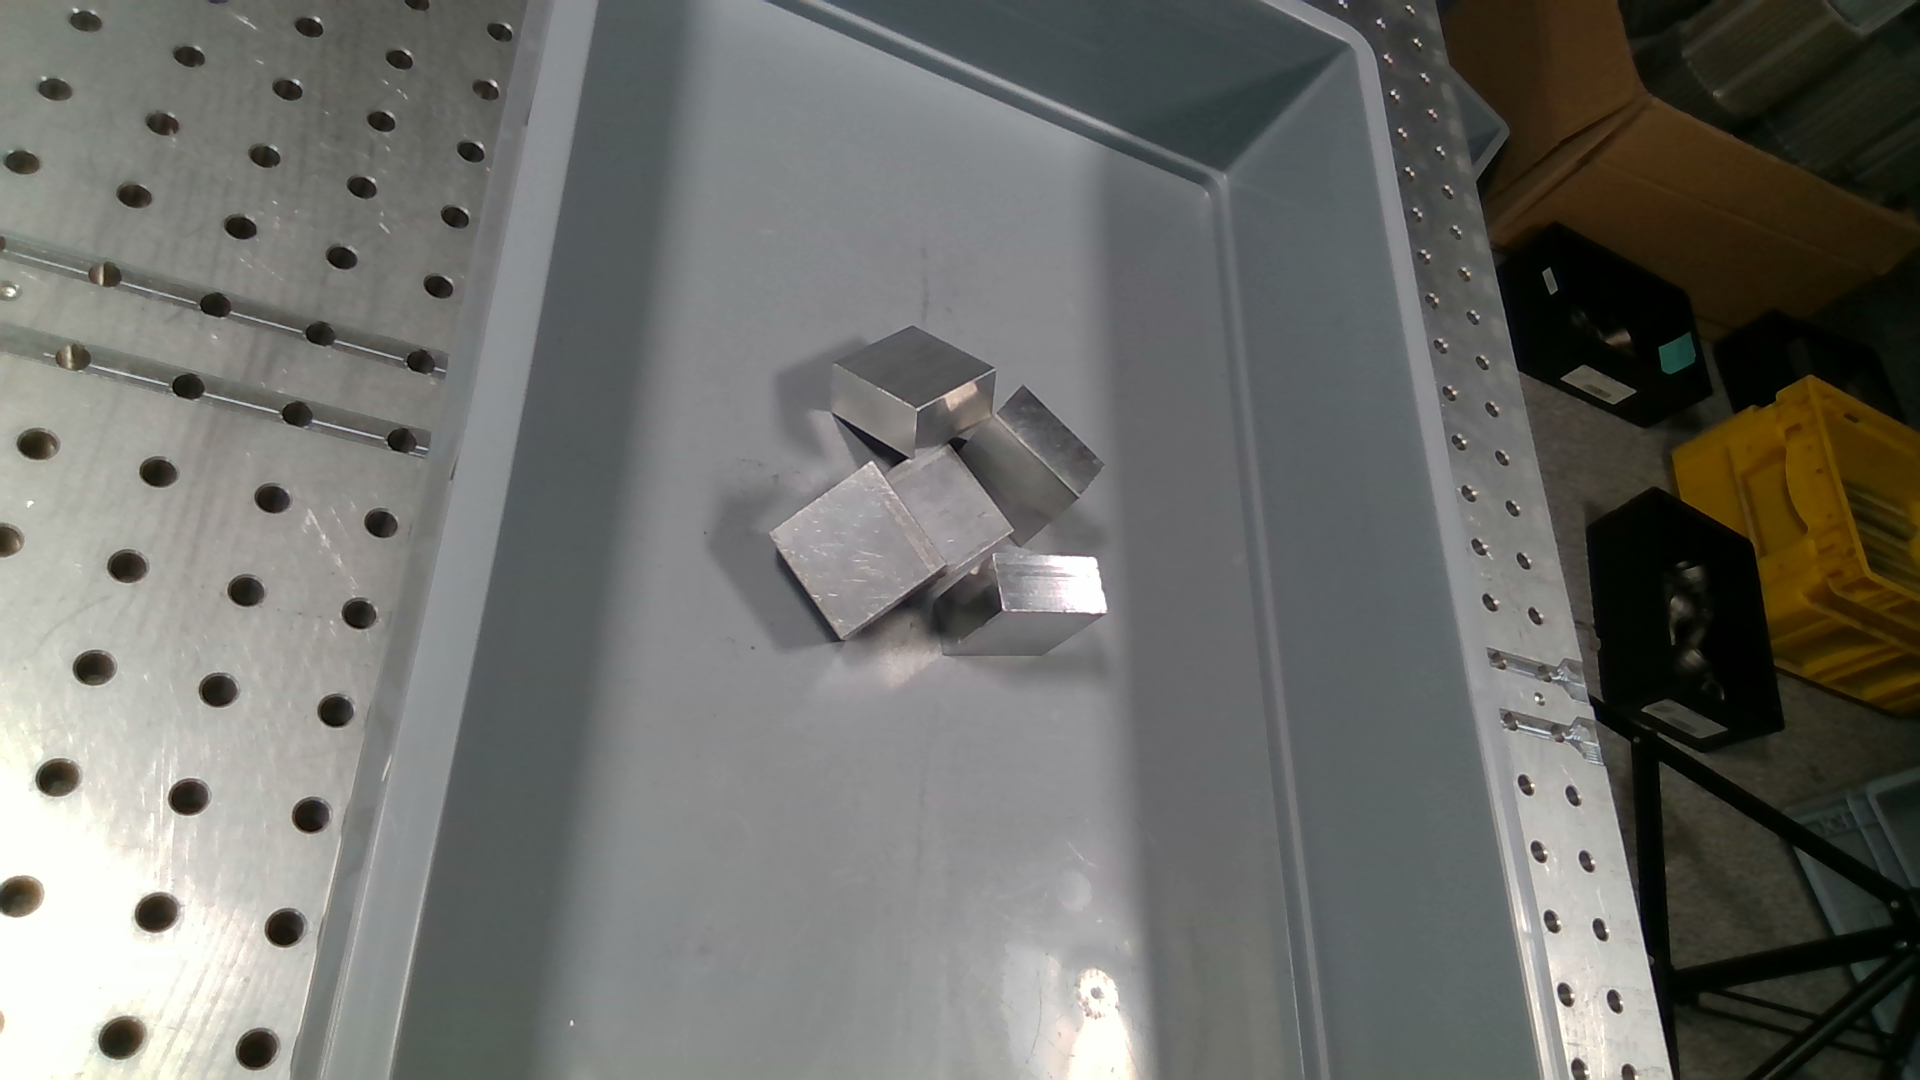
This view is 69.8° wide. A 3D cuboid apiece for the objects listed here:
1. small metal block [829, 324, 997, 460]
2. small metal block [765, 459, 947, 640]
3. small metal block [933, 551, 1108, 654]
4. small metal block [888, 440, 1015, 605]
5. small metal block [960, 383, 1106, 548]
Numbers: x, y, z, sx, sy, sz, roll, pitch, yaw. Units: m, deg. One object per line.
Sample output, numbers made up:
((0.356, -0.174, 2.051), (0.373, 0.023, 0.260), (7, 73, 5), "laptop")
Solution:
((-0.021, -0.065, 0.592), (0.050, 0.025, 0.050), (31, 44, 29), "small metal block")
((-0.040, 0.005, 0.541), (0.050, 0.025, 0.050), (-35, 86, -2), "small metal block")
((0.024, 0.027, 0.568), (0.050, 0.050, 0.025), (3, 65, -31), "small metal block")
((-0.014, -0.009, 0.580), (0.050, 0.025, 0.050), (-33, 85, -39), "small metal block")
((0.027, -0.032, 0.601), (0.050, 0.050, 0.025), (45, 51, -3), "small metal block")
